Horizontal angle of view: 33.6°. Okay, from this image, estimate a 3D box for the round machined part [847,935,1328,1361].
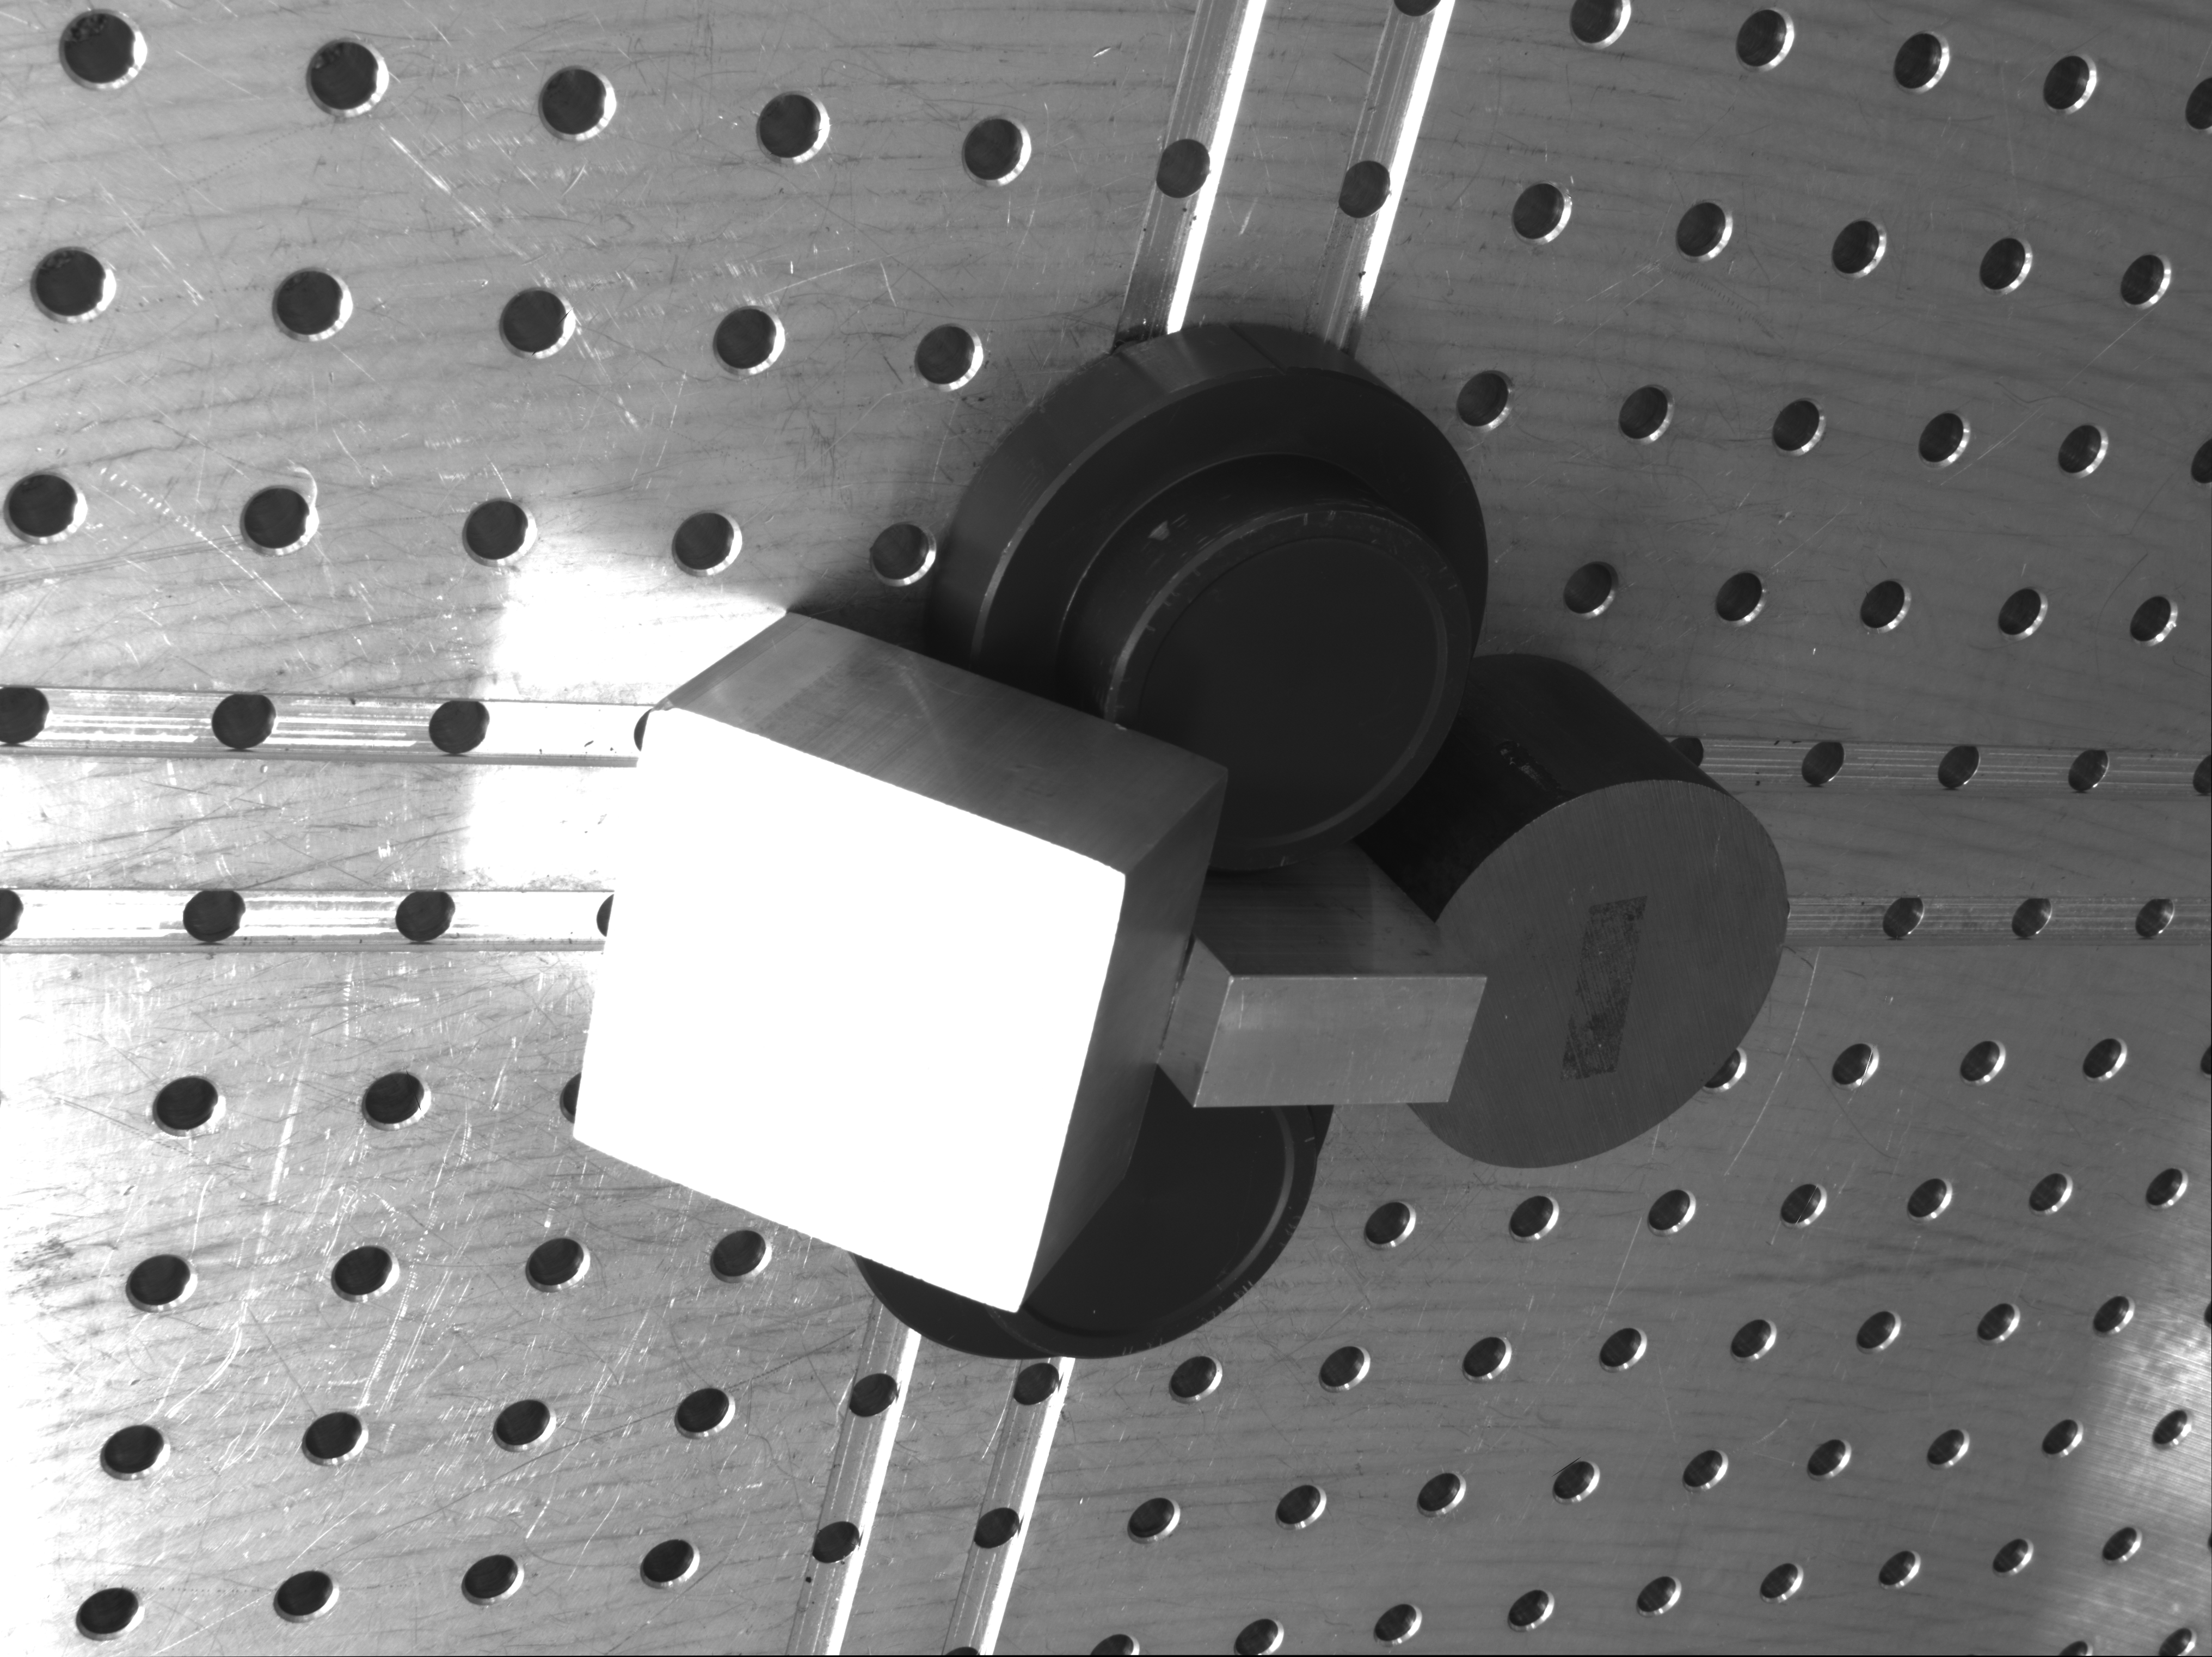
[{"bbox_3d":[-0.002,0.056,0.663,0.098,0.042,0.098,-14,124,-21],"label":"round machined part"}]

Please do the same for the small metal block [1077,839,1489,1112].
[{"bbox_3d":[0.029,0.024,0.626,0.050,0.050,0.025,1,118,-29],"label":"small metal block"}]

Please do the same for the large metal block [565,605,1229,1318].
[{"bbox_3d":[-0.034,0.020,0.591,0.050,0.080,0.080,-45,152,-61],"label":"large metal block"}]

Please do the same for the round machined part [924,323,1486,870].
[{"bbox_3d":[0.022,-0.032,0.622,0.098,0.042,0.098,-14,124,-21],"label":"round machined part"}]

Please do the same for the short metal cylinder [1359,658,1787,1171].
[{"bbox_3d":[0.077,0.016,0.674,0.080,0.050,0.080,-14,124,-21],"label":"short metal cylinder"}]
